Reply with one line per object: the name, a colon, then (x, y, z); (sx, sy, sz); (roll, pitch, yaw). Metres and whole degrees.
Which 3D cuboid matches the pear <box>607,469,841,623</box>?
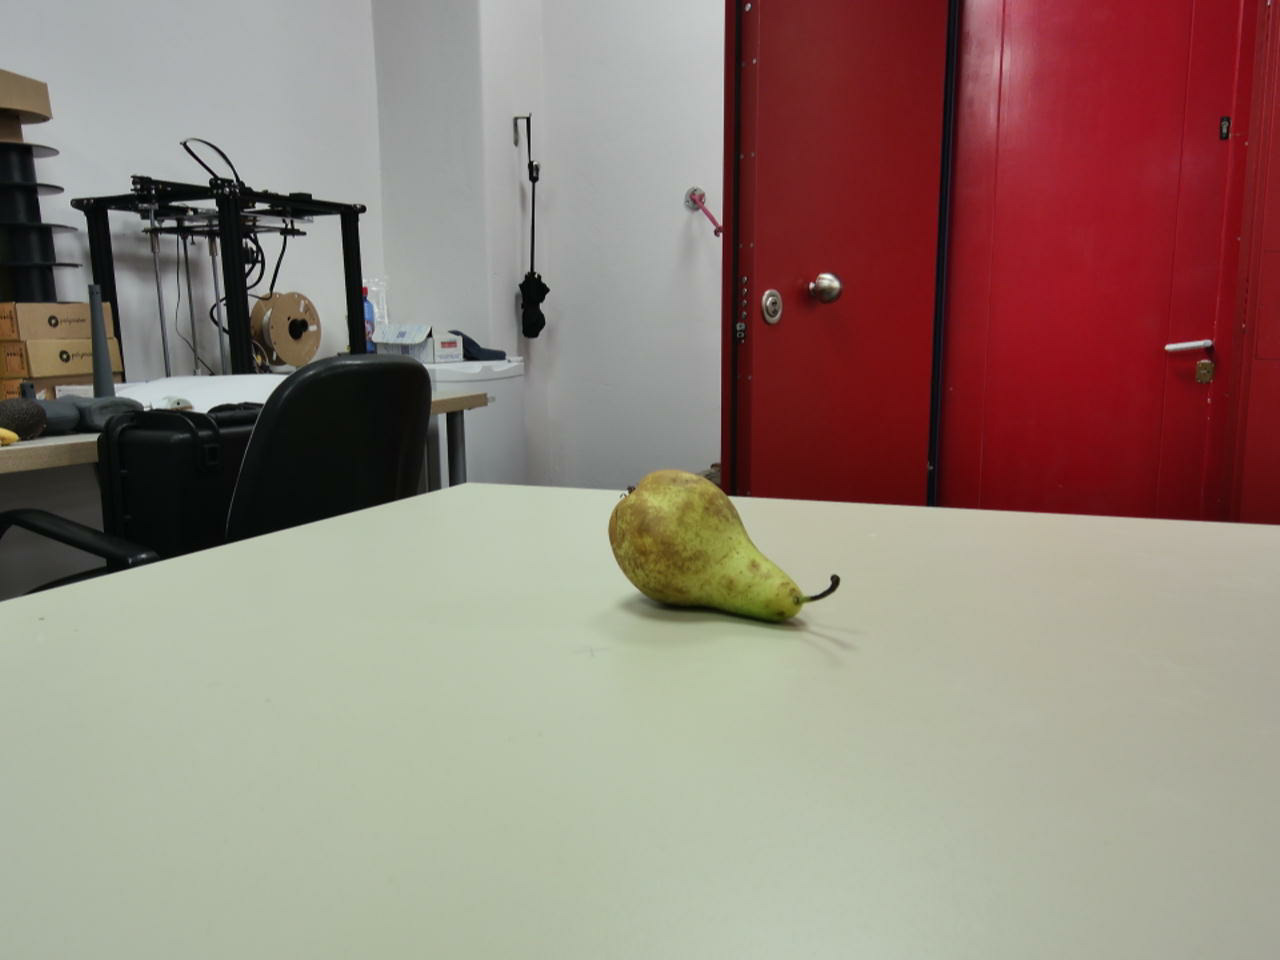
pear: (0.050, 0.033, 0.536); (0.144, 0.075, 0.071); (3, 7, 31)
